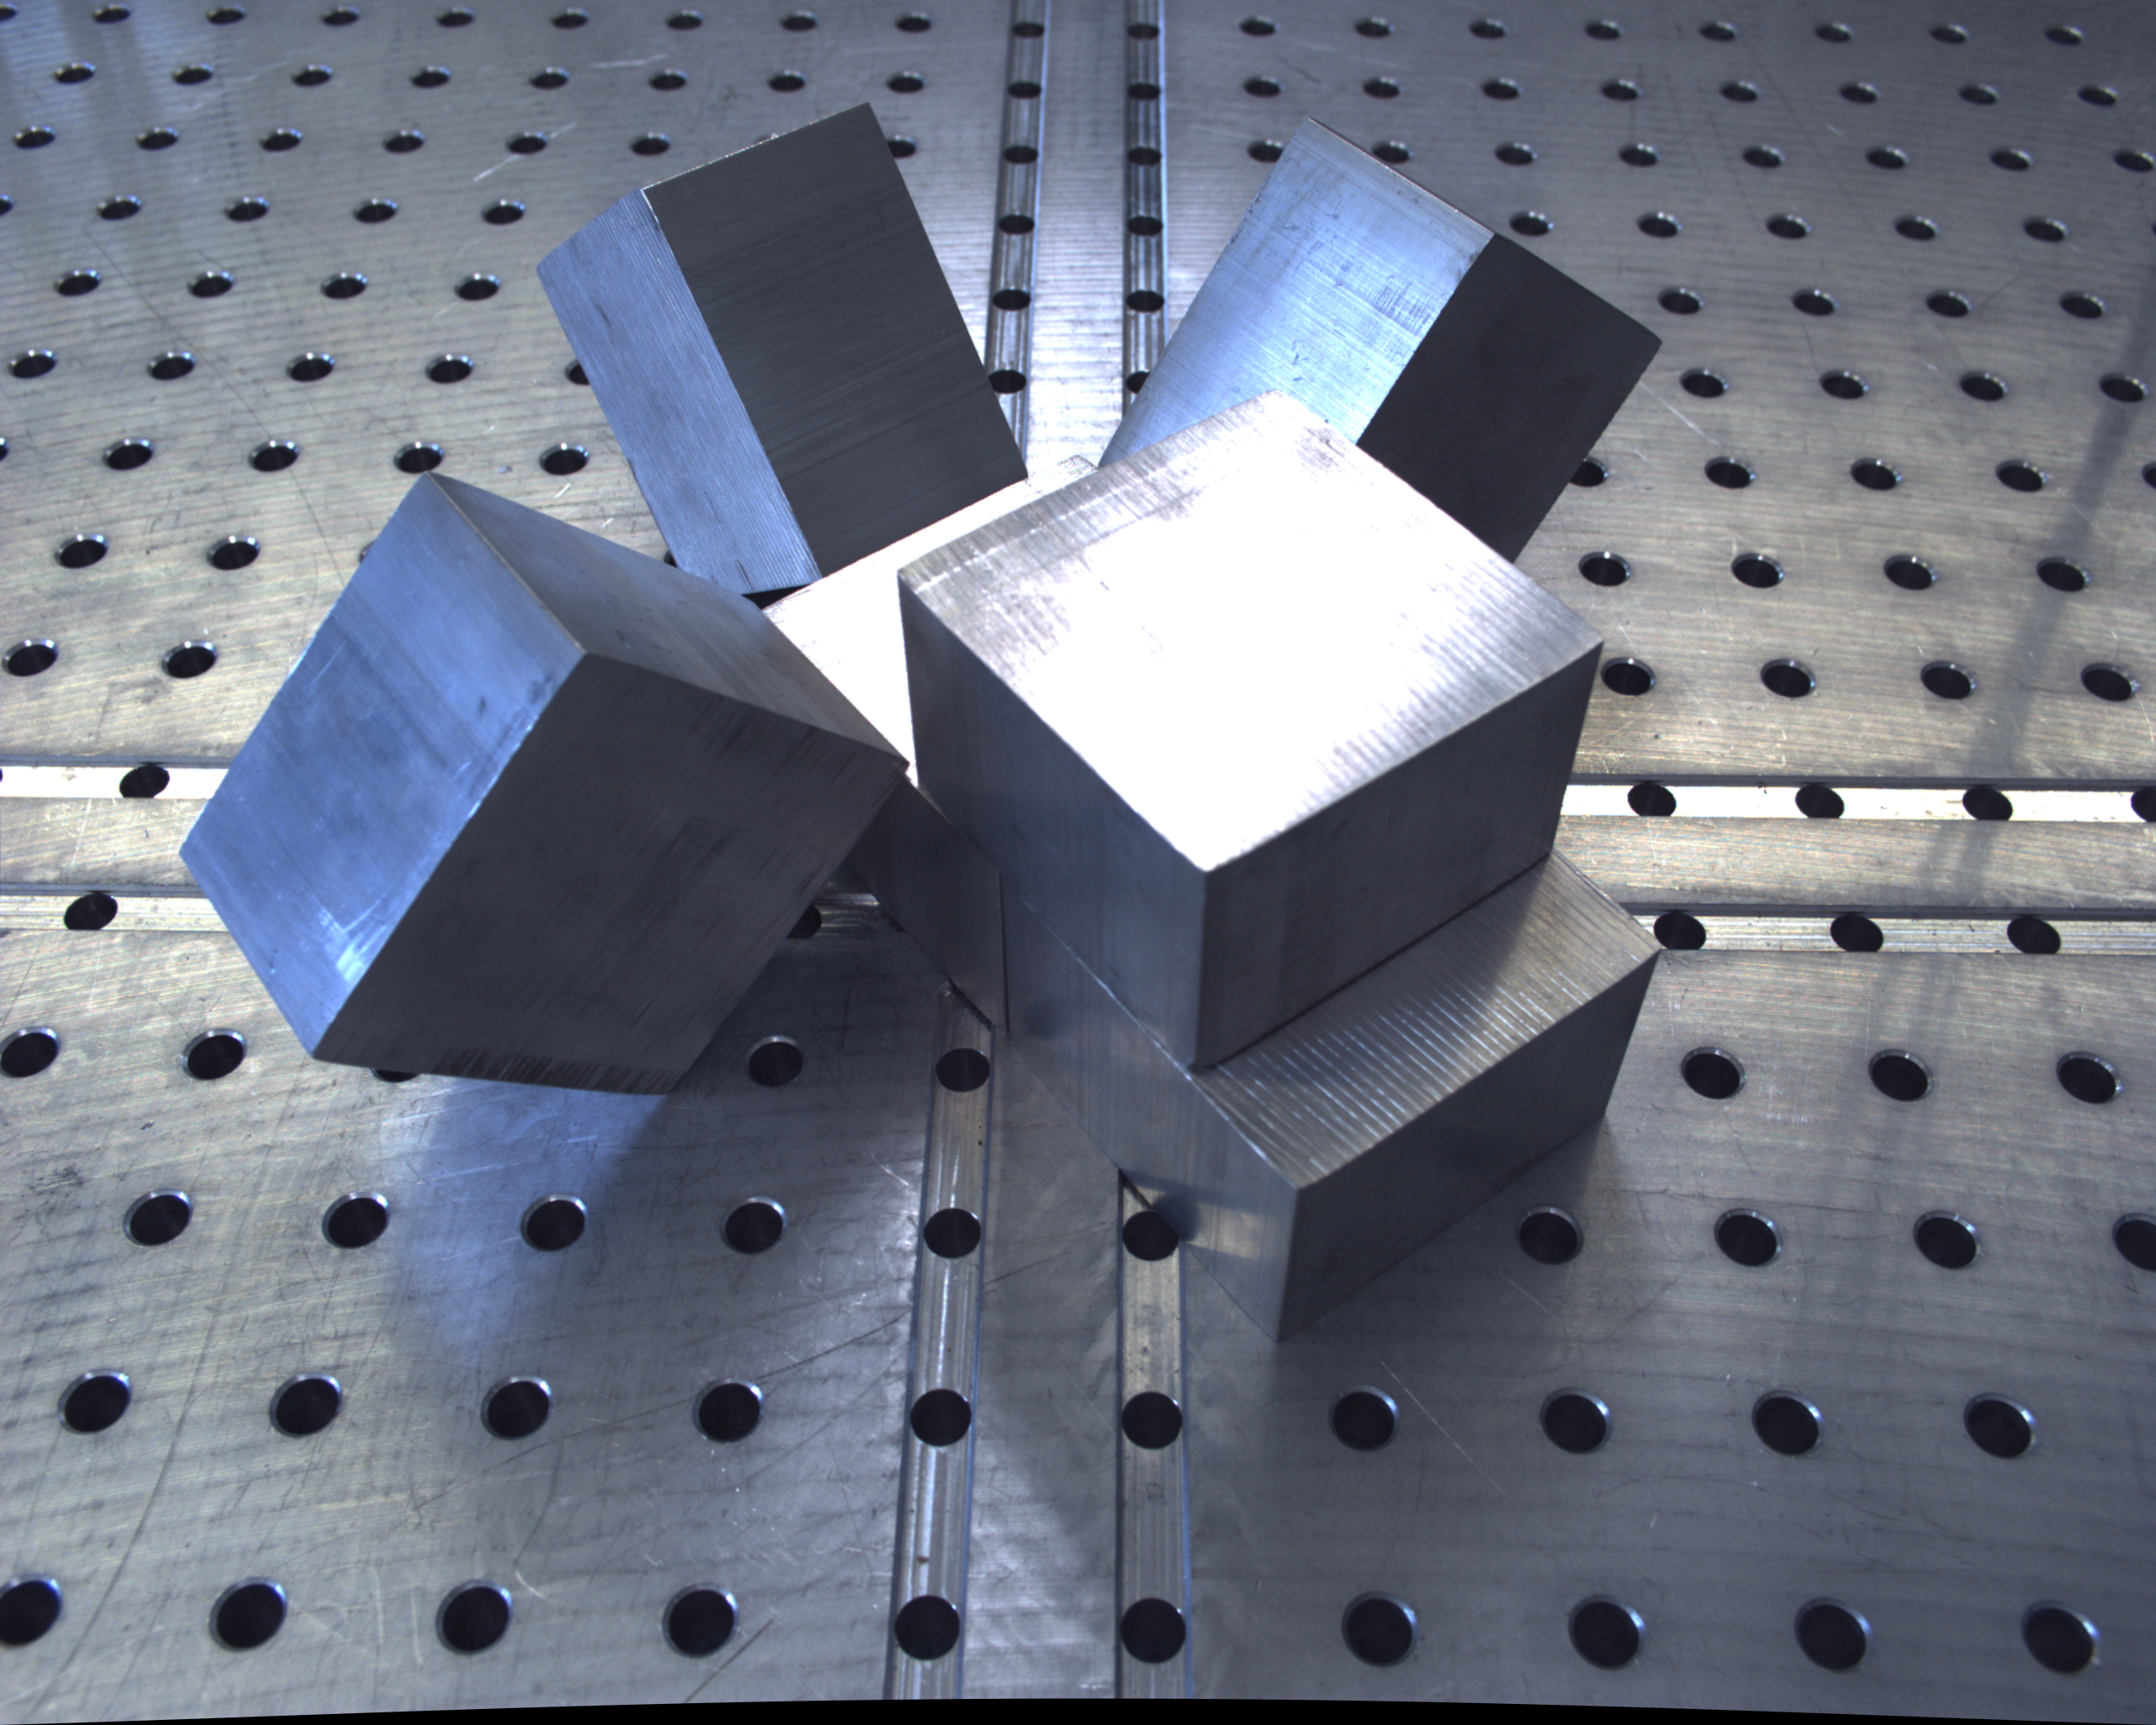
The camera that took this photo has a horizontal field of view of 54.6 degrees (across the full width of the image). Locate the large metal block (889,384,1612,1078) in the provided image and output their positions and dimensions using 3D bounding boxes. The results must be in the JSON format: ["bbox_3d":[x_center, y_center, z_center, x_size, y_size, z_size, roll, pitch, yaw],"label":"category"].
[{"bbox_3d":[0.026,-0.025,0.346,0.080,0.050,0.080,-29,57,-24],"label":"large metal block"}]

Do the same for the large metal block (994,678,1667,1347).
[{"bbox_3d":[0.042,0.024,0.371,0.080,0.050,0.080,-29,55,-23],"label":"large metal block"}]

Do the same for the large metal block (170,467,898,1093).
[{"bbox_3d":[-0.091,-0.010,0.360,0.050,0.080,0.080,44,104,31],"label":"large metal block"}]

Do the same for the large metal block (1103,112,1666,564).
[{"bbox_3d":[0.063,-0.095,0.432,0.050,0.080,0.080,44,23,31],"label":"large metal block"}]

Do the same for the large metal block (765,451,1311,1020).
[{"bbox_3d":[-0.007,-0.026,0.414,0.080,0.050,0.080,-31,57,-23],"label":"large metal block"}]

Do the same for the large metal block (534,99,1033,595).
[{"bbox_3d":[-0.064,-0.103,0.438,0.050,0.080,0.080,-31,17,-23],"label":"large metal block"}]
